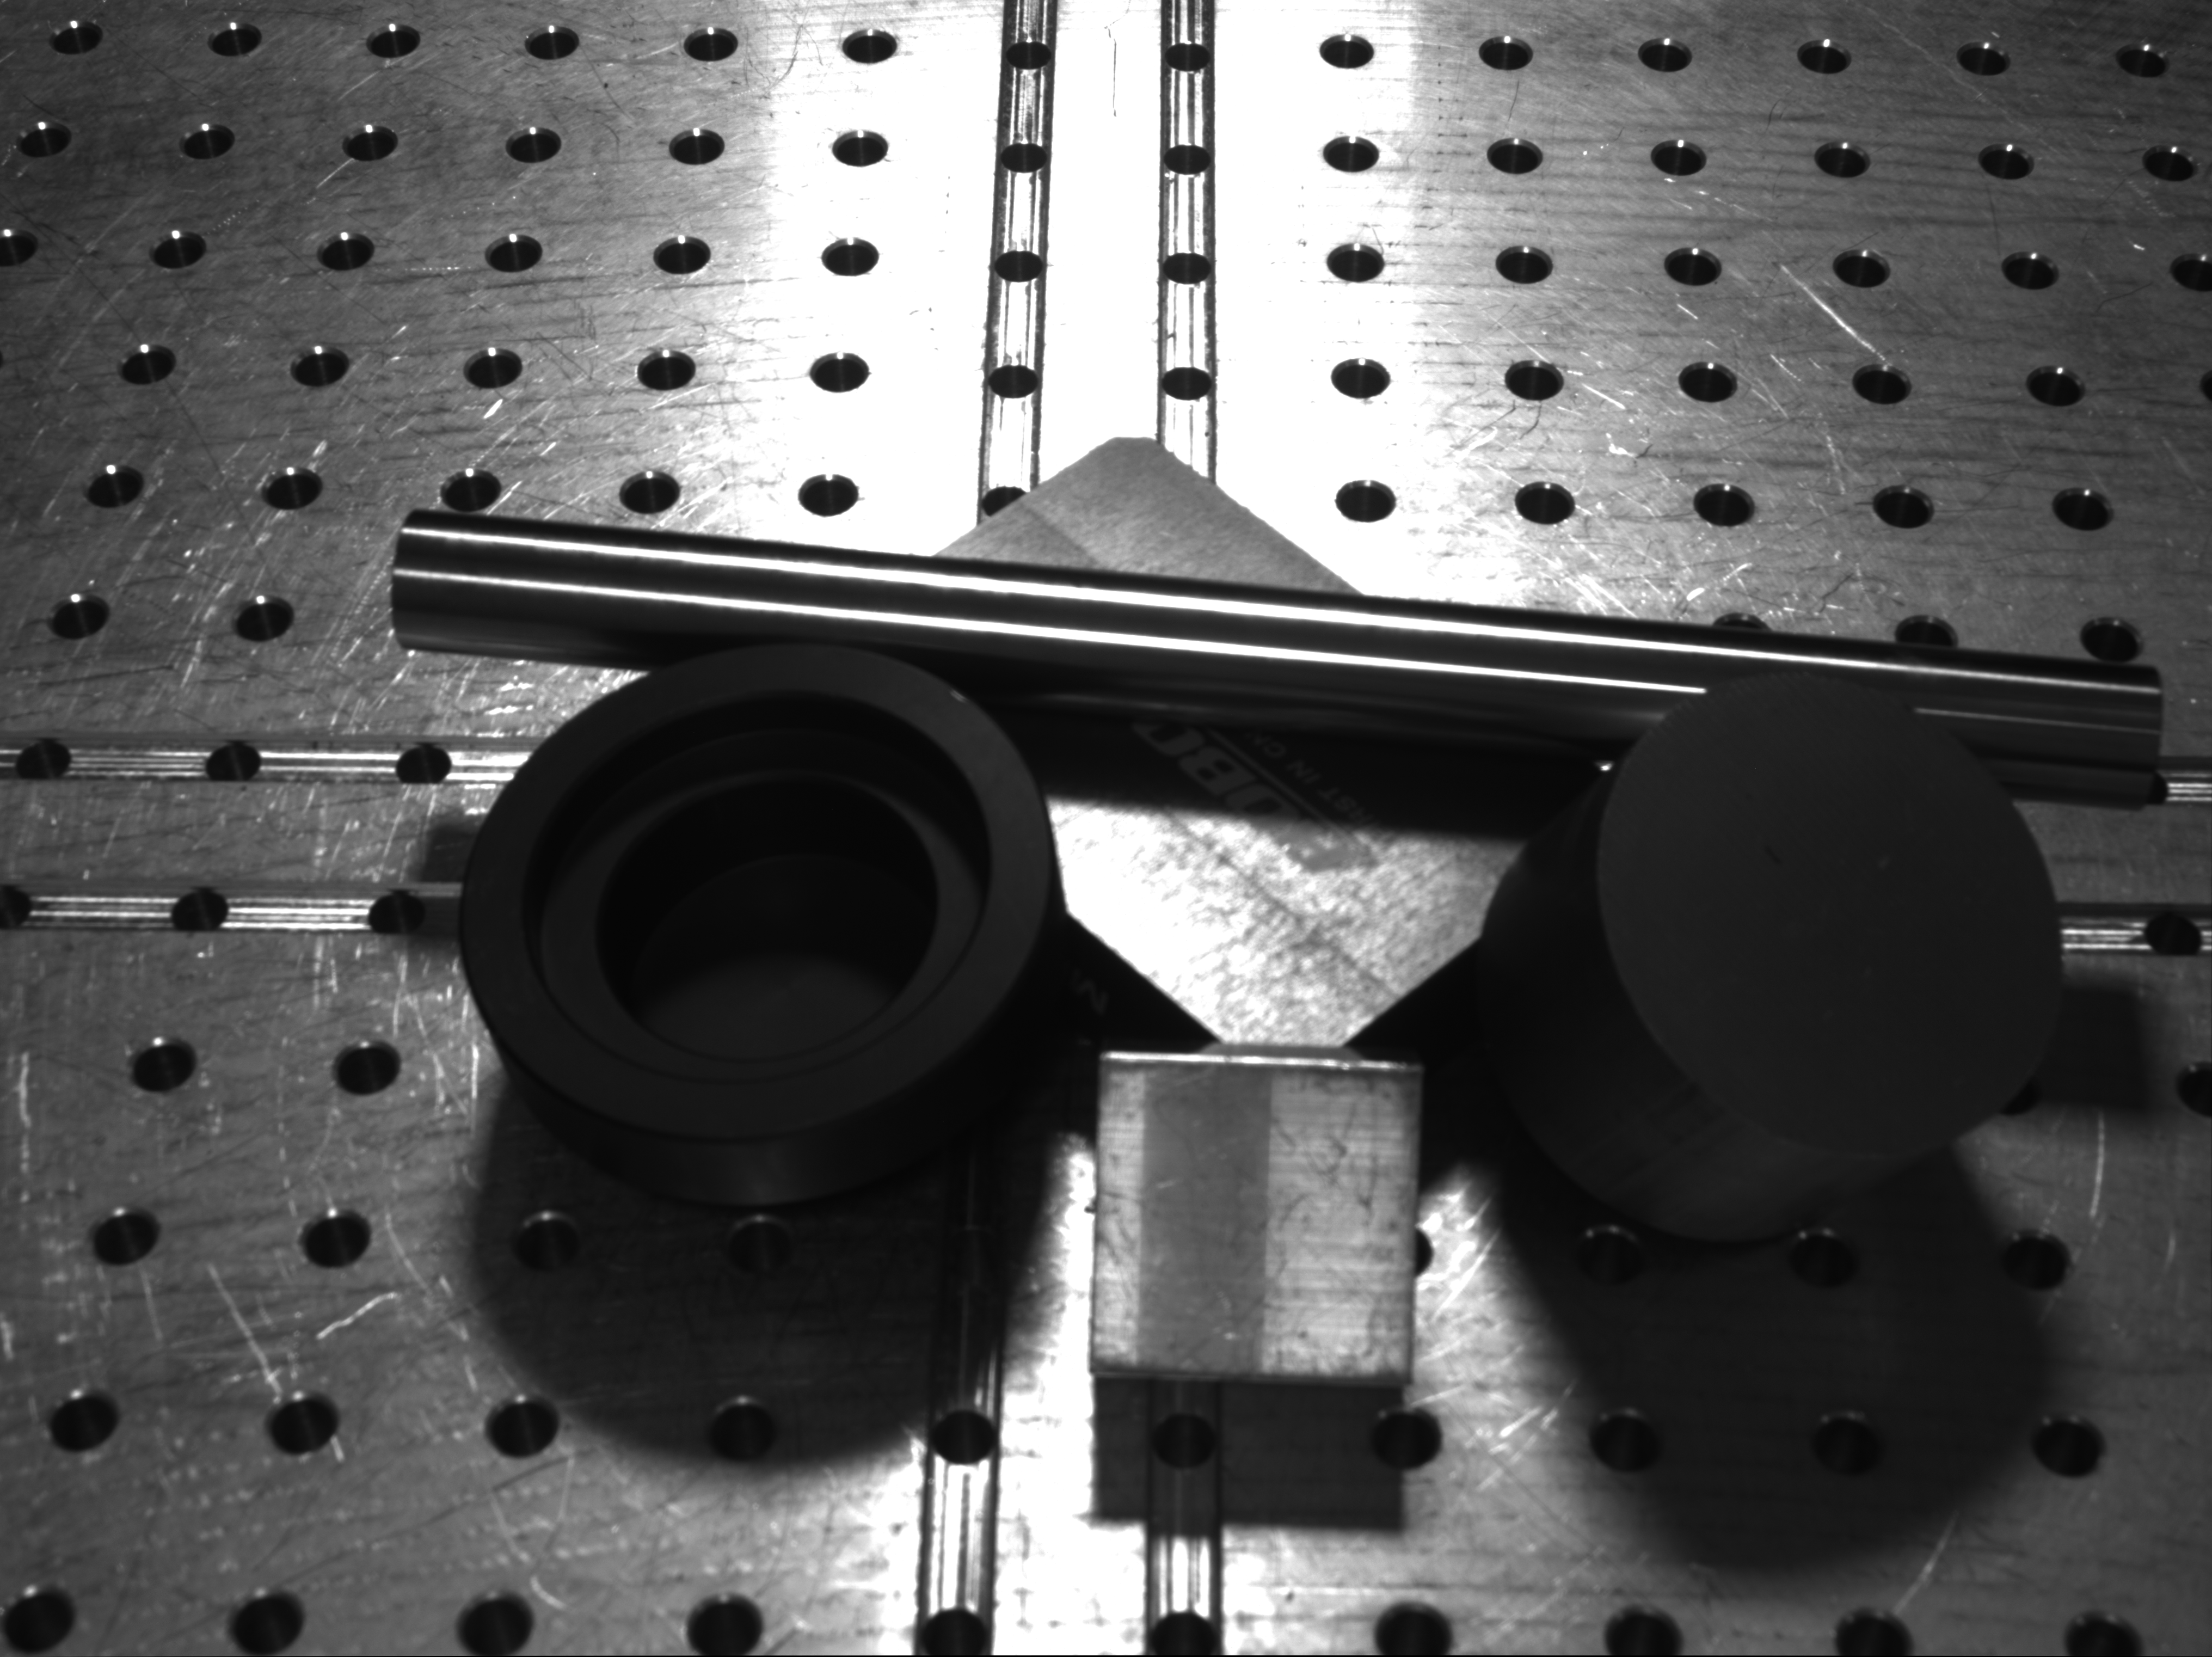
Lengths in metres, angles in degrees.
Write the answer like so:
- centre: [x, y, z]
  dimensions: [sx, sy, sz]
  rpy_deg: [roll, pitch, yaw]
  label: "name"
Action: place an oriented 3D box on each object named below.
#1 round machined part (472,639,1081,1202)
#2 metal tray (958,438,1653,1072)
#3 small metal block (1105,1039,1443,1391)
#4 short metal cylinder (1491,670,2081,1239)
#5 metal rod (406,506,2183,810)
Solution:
- centre: [-0.053, 0.019, 0.611]
  dimensions: [0.098, 0.042, 0.098]
  rpy_deg: [-3, 56, 4]
  label: "round machined part"
- centre: [0.020, -0.007, 0.650]
  dimensions: [0.090, 0.030, 0.130]
  rpy_deg: [-36, 58, -26]
  label: "metal tray"
- centre: [0.026, 0.060, 0.577]
  dimensions: [0.050, 0.025, 0.050]
  rpy_deg: [2, 93, 1]
  label: "small metal block"
- centre: [0.109, 0.021, 0.591]
  dimensions: [0.080, 0.050, 0.080]
  rpy_deg: [6, 68, -15]
  label: "short metal cylinder"
- centre: [0.030, -0.030, 0.629]
  dimensions: [0.300, 0.025, 0.025]
  rpy_deg: [5, 50, 5]
  label: "metal rod"
